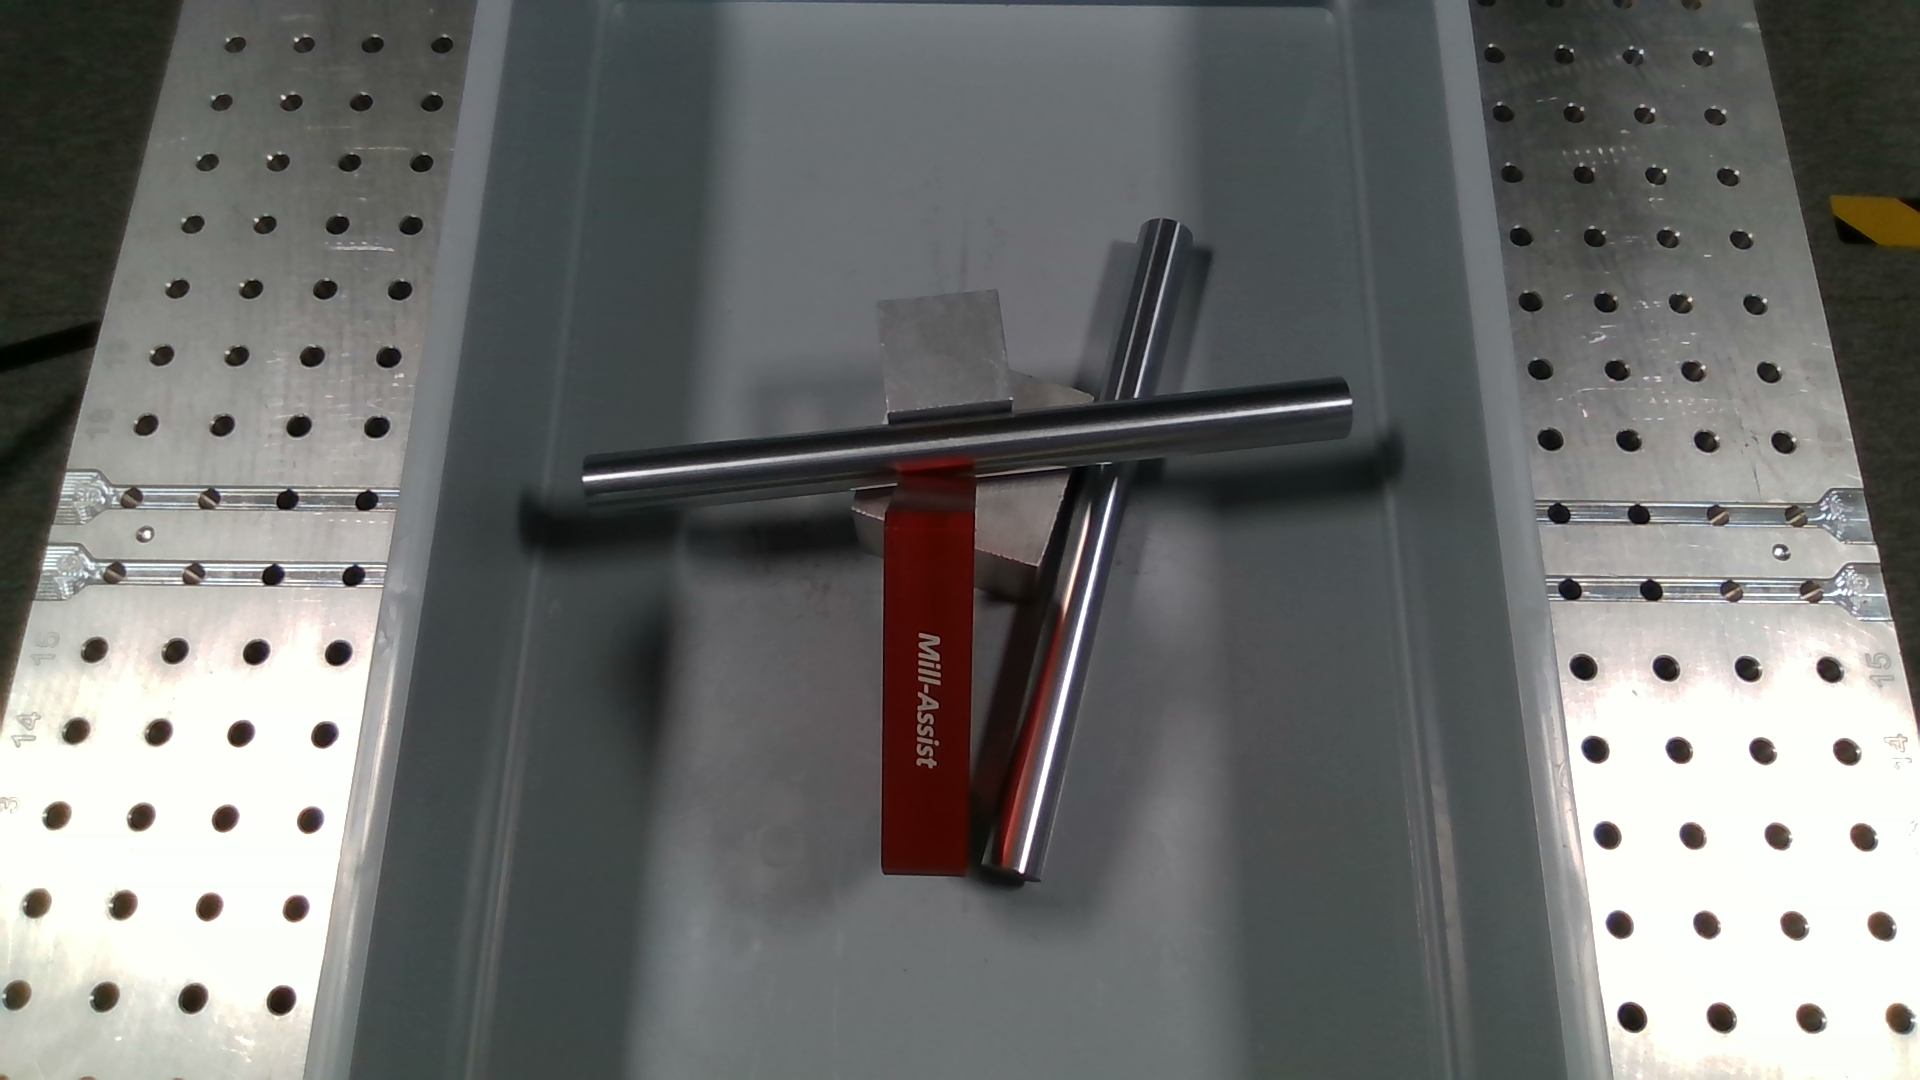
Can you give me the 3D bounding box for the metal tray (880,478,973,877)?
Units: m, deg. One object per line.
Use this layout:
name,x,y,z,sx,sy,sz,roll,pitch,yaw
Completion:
metal tray,-0.011,0.047,0.508,0.030,0.090,0.130,1,102,1

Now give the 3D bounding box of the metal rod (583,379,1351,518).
metal rod,0.004,-0.037,0.547,0.300,0.025,0.025,-6,70,-2

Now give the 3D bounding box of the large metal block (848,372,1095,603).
large metal block,0.005,-0.027,0.584,0.080,0.050,0.080,17,71,6

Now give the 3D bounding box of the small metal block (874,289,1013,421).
small metal block,-0.007,-0.071,0.559,0.050,0.025,0.050,-6,71,-3

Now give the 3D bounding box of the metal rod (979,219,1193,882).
metal rod,0.057,-0.005,0.590,0.025,0.025,0.299,14,71,5
